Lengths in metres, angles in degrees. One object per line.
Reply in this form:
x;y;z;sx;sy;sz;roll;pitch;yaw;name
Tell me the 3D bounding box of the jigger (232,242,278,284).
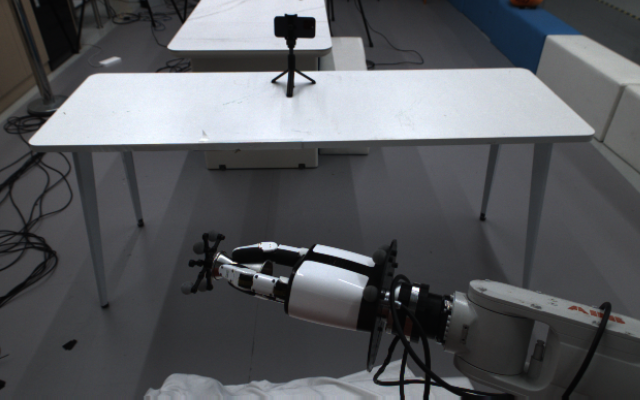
-0.095;0.088;0.626;0.071;0.043;0.043;10;35;16;jigger
